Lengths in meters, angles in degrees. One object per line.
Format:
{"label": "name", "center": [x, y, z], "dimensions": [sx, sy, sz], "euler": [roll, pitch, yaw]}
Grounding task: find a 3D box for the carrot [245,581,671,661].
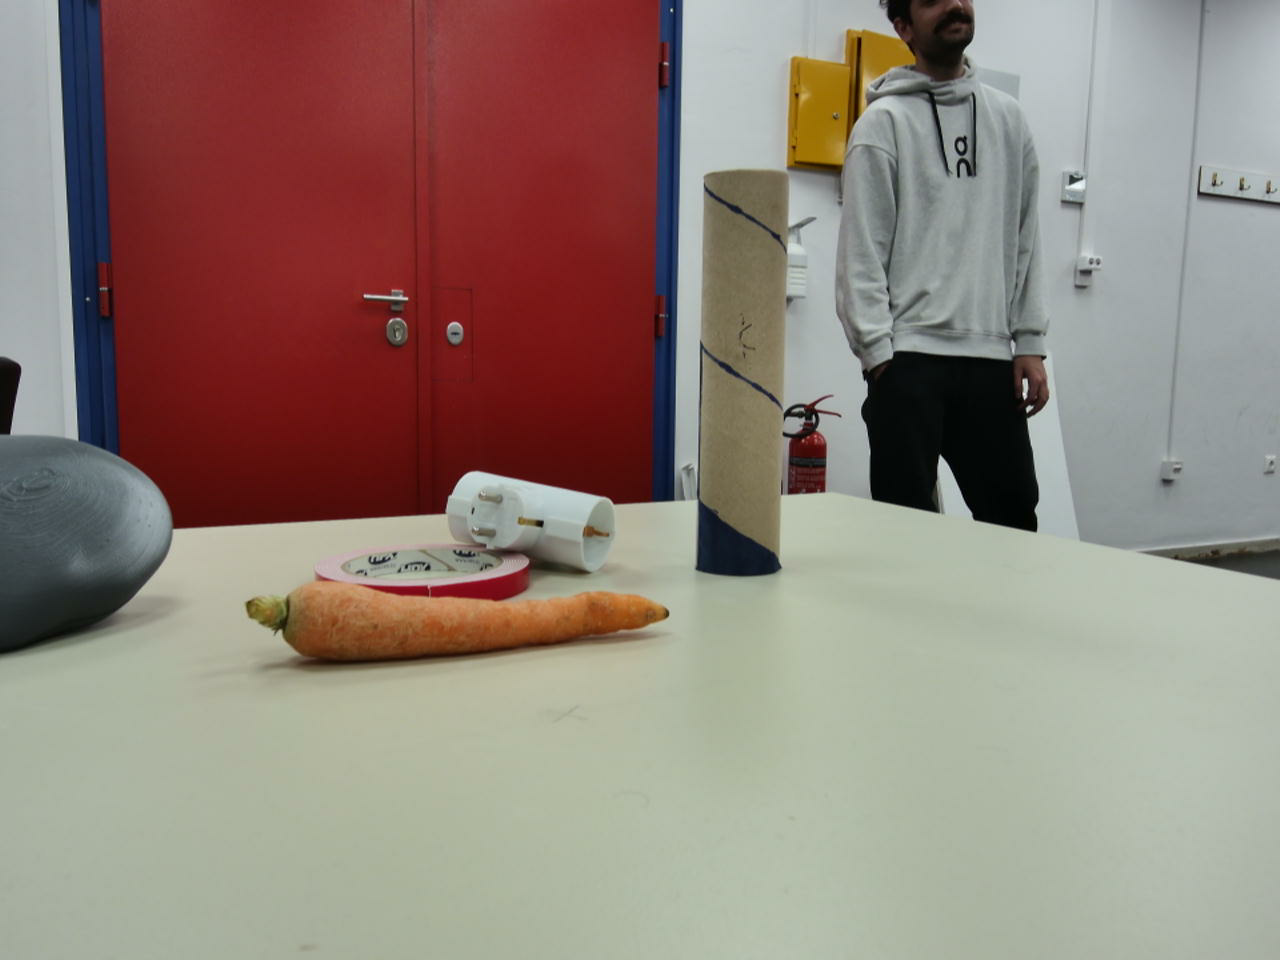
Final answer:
{"label": "carrot", "center": [-0.069, 0.054, 0.408], "dimensions": [0.173, 0.032, 0.030], "euler": [-1, 4, -17]}
